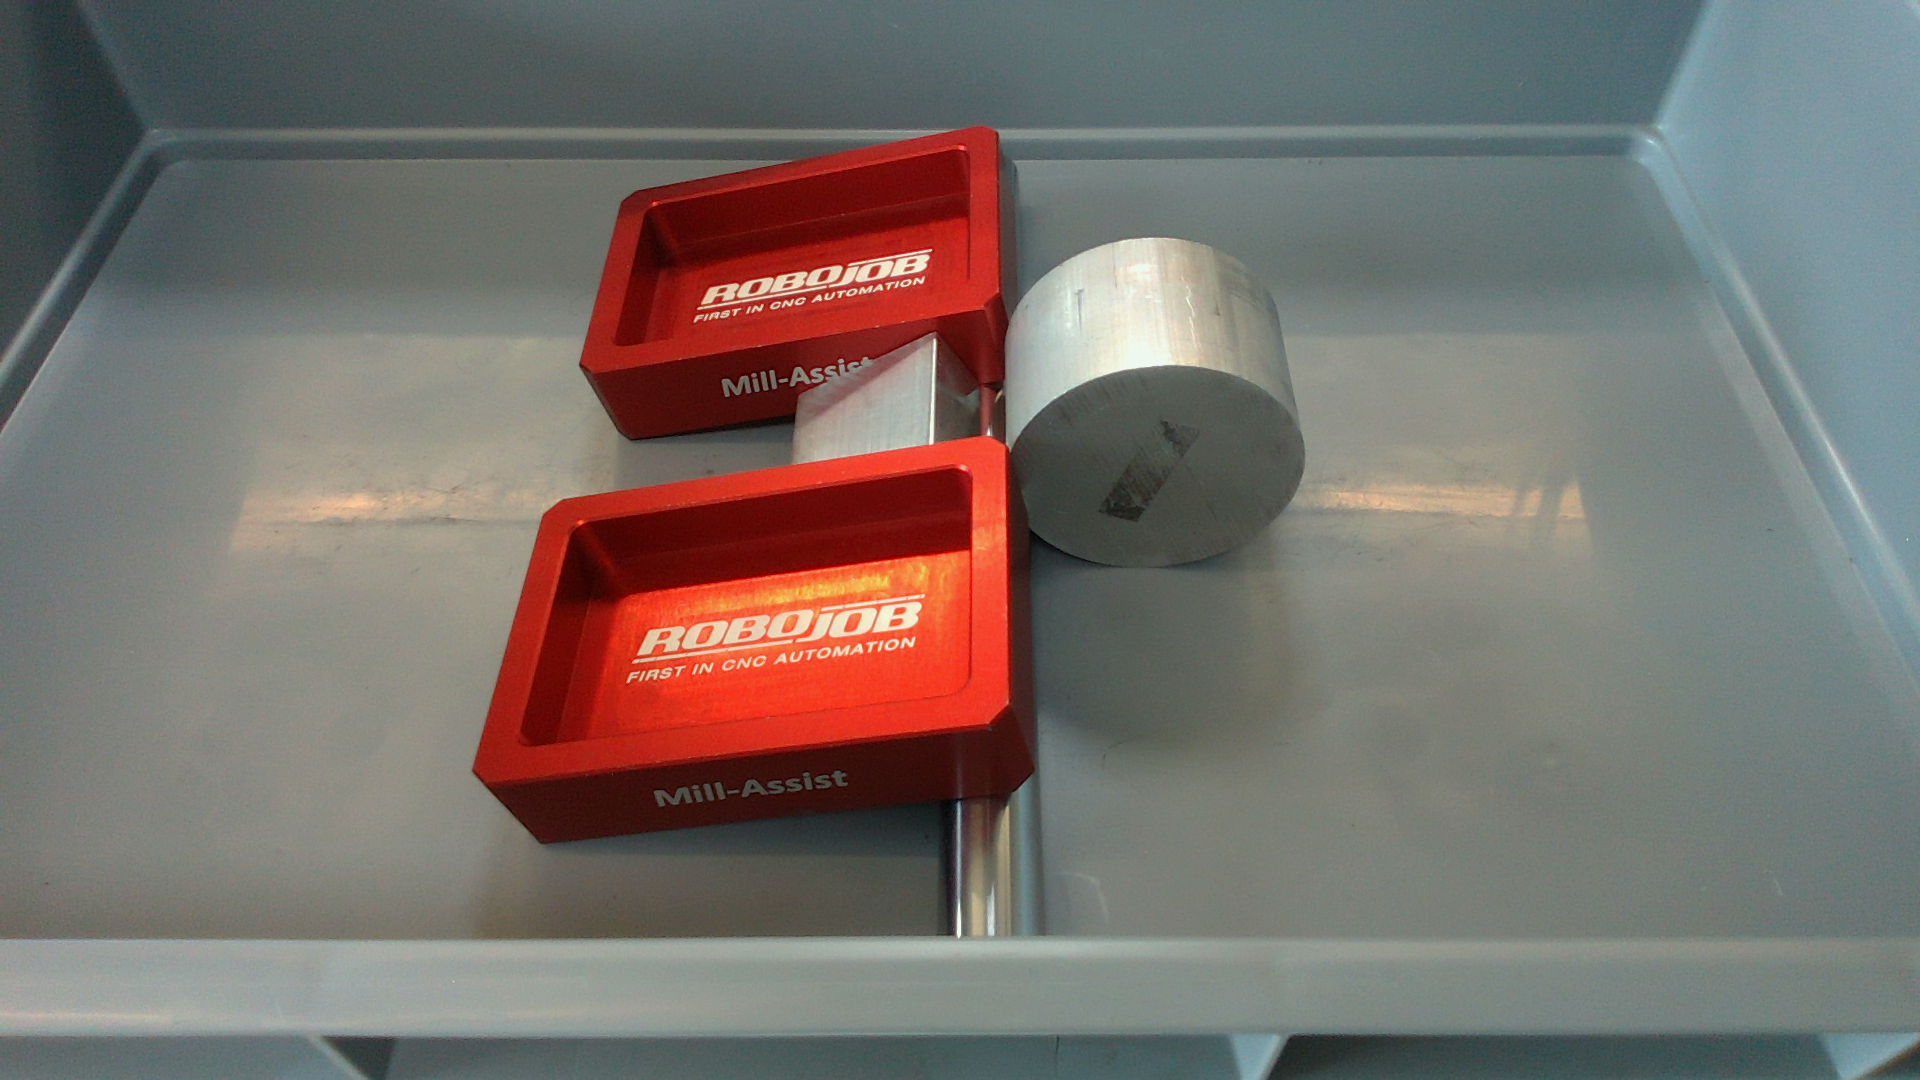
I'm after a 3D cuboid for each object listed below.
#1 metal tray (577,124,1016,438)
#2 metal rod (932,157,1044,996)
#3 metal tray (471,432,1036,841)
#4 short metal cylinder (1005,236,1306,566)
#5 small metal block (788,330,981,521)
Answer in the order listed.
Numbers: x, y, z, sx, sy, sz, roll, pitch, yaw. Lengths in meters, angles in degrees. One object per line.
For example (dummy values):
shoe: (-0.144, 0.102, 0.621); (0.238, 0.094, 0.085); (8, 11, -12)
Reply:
metal tray: (-0.049, -0.084, 0.439); (0.130, 0.030, 0.090); (-8, 49, 9)
metal rod: (0.007, -0.018, 0.404); (0.025, 0.025, 0.300); (0, 50, 0)
metal tray: (-0.048, 0.023, 0.349); (0.130, 0.030, 0.090); (-8, 49, 10)
short metal cylinder: (0.053, -0.037, 0.386); (0.080, 0.080, 0.050); (0, 50, 0)
small metal block: (-0.022, -0.026, 0.398); (0.050, 0.025, 0.050); (-21, 45, 24)
